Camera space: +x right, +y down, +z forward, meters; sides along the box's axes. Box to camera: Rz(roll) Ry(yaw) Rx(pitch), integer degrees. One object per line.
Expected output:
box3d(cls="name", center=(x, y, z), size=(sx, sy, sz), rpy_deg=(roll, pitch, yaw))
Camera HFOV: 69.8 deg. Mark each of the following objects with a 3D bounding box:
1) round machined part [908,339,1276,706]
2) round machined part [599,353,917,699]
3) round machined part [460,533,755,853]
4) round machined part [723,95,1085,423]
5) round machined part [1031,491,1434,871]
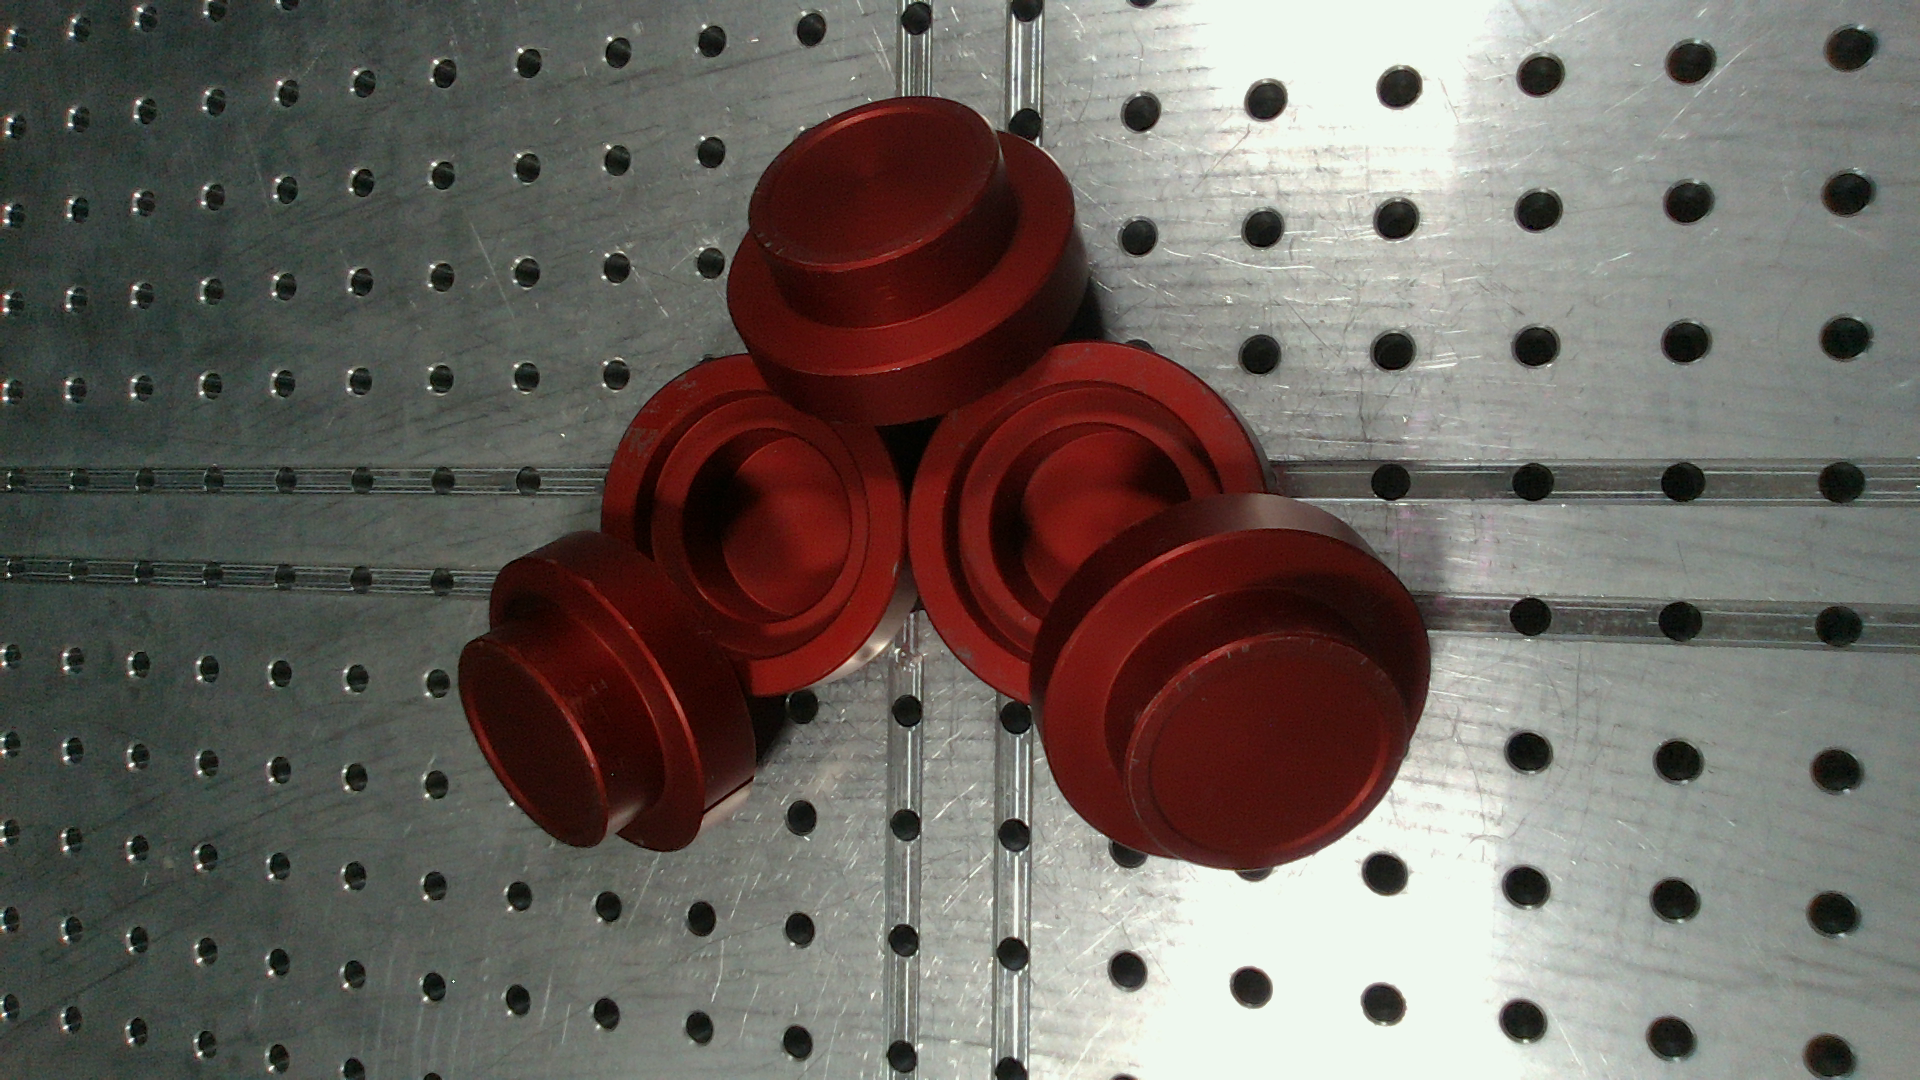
box3d(cls="round machined part", center=(0.039, -0.003, 0.375), size=(0.098, 0.042, 0.098), rpy_deg=(0, 90, 20))
box3d(cls="round machined part", center=(-0.054, -0.004, 0.408), size=(0.098, 0.042, 0.098), rpy_deg=(0, 90, 20))
box3d(cls="round machined part", center=(-0.109, 0.051, 0.404), size=(0.098, 0.042, 0.098), rpy_deg=(24, 130, 33))
box3d(cls="round machined part", center=(-0.018, -0.081, 0.369), size=(0.098, 0.042, 0.098), rpy_deg=(-10, 49, 12))
box3d(cls="round machined part", center=(0.069, 0.041, 0.336), size=(0.098, 0.042, 0.098), rpy_deg=(-3, 117, -7))
